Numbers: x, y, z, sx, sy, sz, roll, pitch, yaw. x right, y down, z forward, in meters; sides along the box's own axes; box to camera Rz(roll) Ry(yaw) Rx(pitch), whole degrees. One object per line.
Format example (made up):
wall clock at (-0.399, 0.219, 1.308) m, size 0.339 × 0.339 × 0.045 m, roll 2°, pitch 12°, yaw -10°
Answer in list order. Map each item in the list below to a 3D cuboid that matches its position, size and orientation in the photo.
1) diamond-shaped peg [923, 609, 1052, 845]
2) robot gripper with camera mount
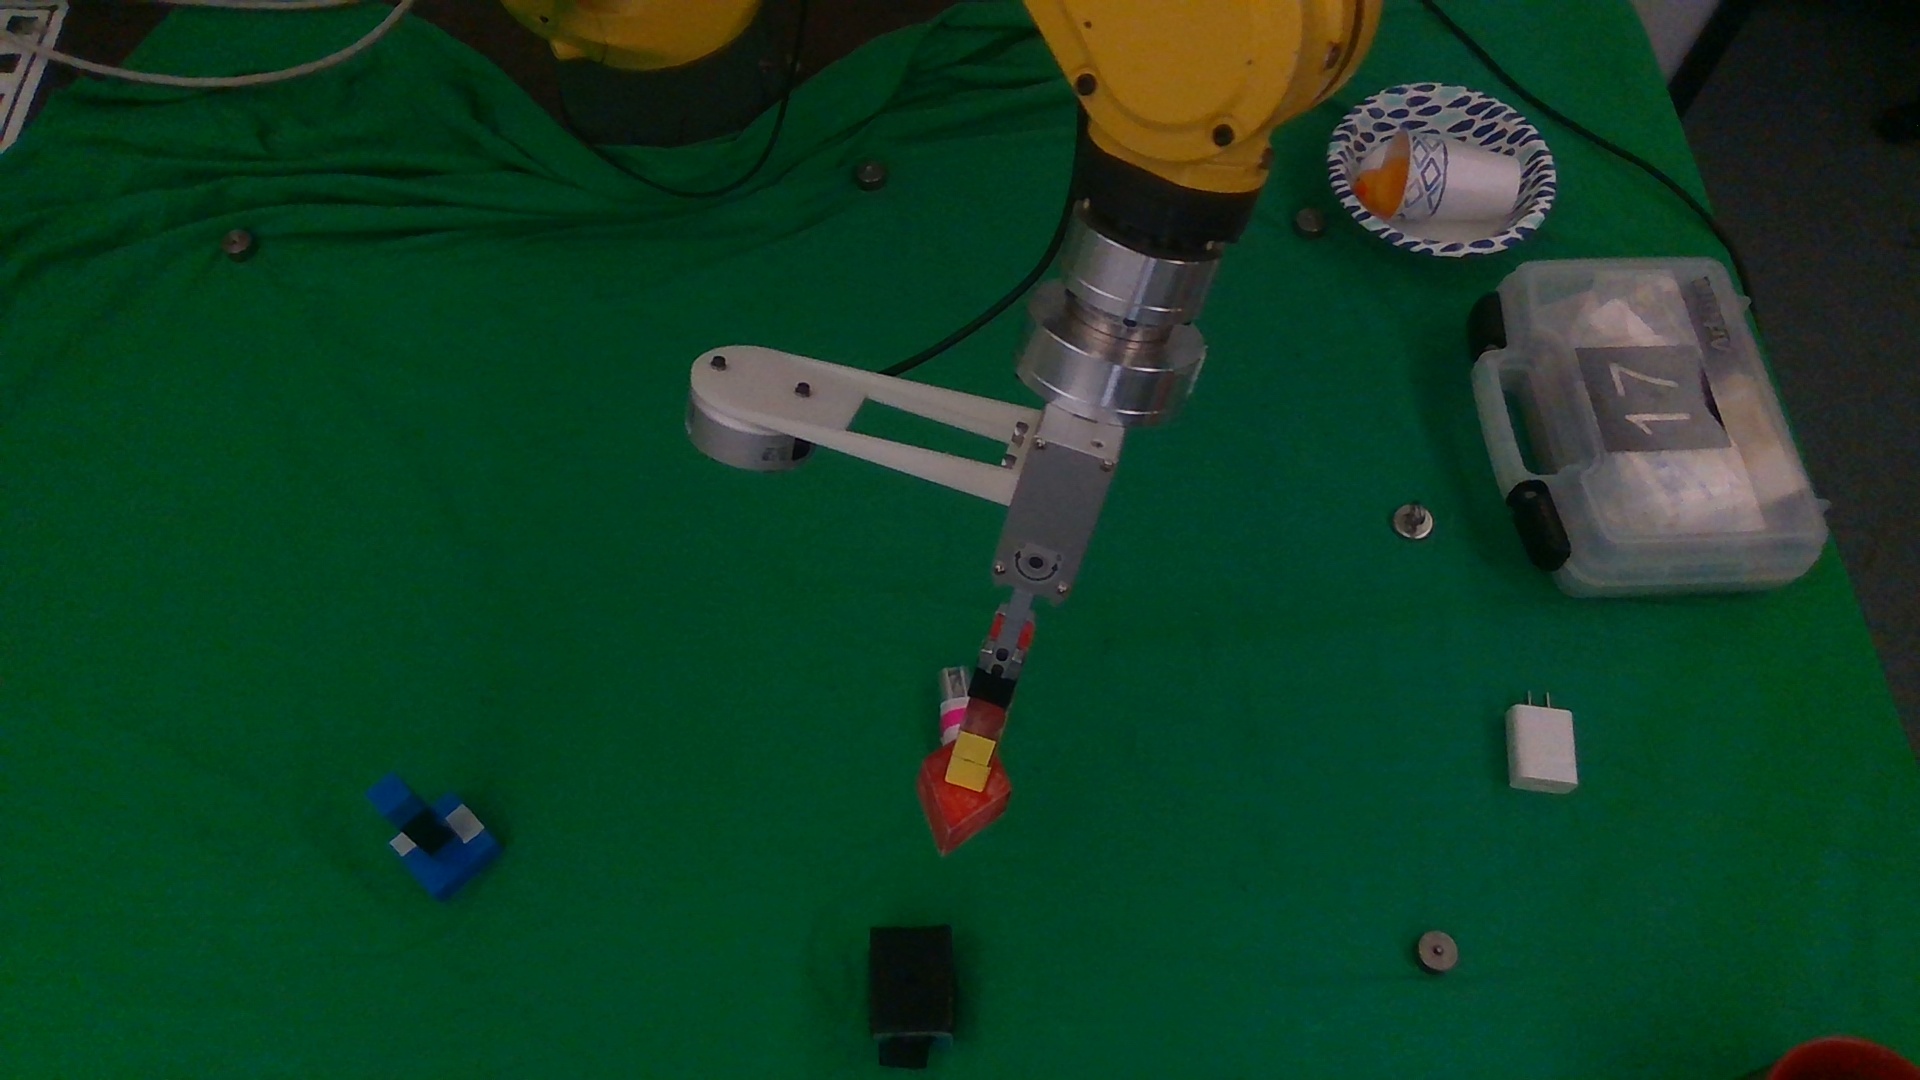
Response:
diamond-shaped peg at (0.017, 0.088, 0.700) m, size 0.045 × 0.122 × 0.074 m, roll 3°, pitch 38°, yaw -19°
robot gripper with camera mount at (-0.037, -0.014, 0.639) m, size 0.193 × 0.158 × 0.119 m, roll 13°, pitch 36°, yaw 1°
